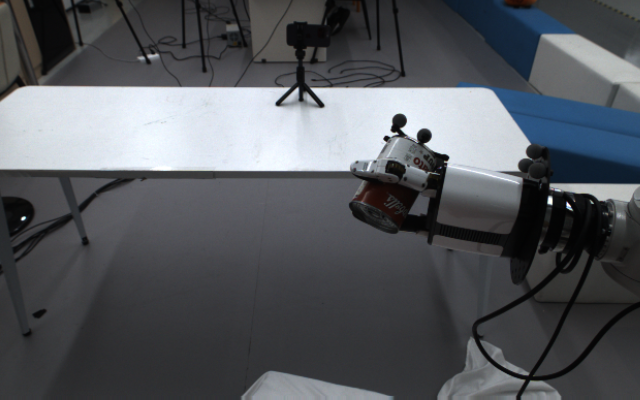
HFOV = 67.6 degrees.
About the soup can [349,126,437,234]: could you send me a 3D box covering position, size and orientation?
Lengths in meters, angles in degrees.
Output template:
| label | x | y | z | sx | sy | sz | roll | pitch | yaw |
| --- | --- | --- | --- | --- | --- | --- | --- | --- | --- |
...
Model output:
| label | x | y | z | sx | sy | sz | roll | pitch | yaw |
| --- | --- | --- | --- | --- | --- | --- | --- | --- | --- |
| soup can | 0.091 | -0.020 | 0.585 | 0.067 | 0.067 | 0.101 | 23 | 73 | 28 |
